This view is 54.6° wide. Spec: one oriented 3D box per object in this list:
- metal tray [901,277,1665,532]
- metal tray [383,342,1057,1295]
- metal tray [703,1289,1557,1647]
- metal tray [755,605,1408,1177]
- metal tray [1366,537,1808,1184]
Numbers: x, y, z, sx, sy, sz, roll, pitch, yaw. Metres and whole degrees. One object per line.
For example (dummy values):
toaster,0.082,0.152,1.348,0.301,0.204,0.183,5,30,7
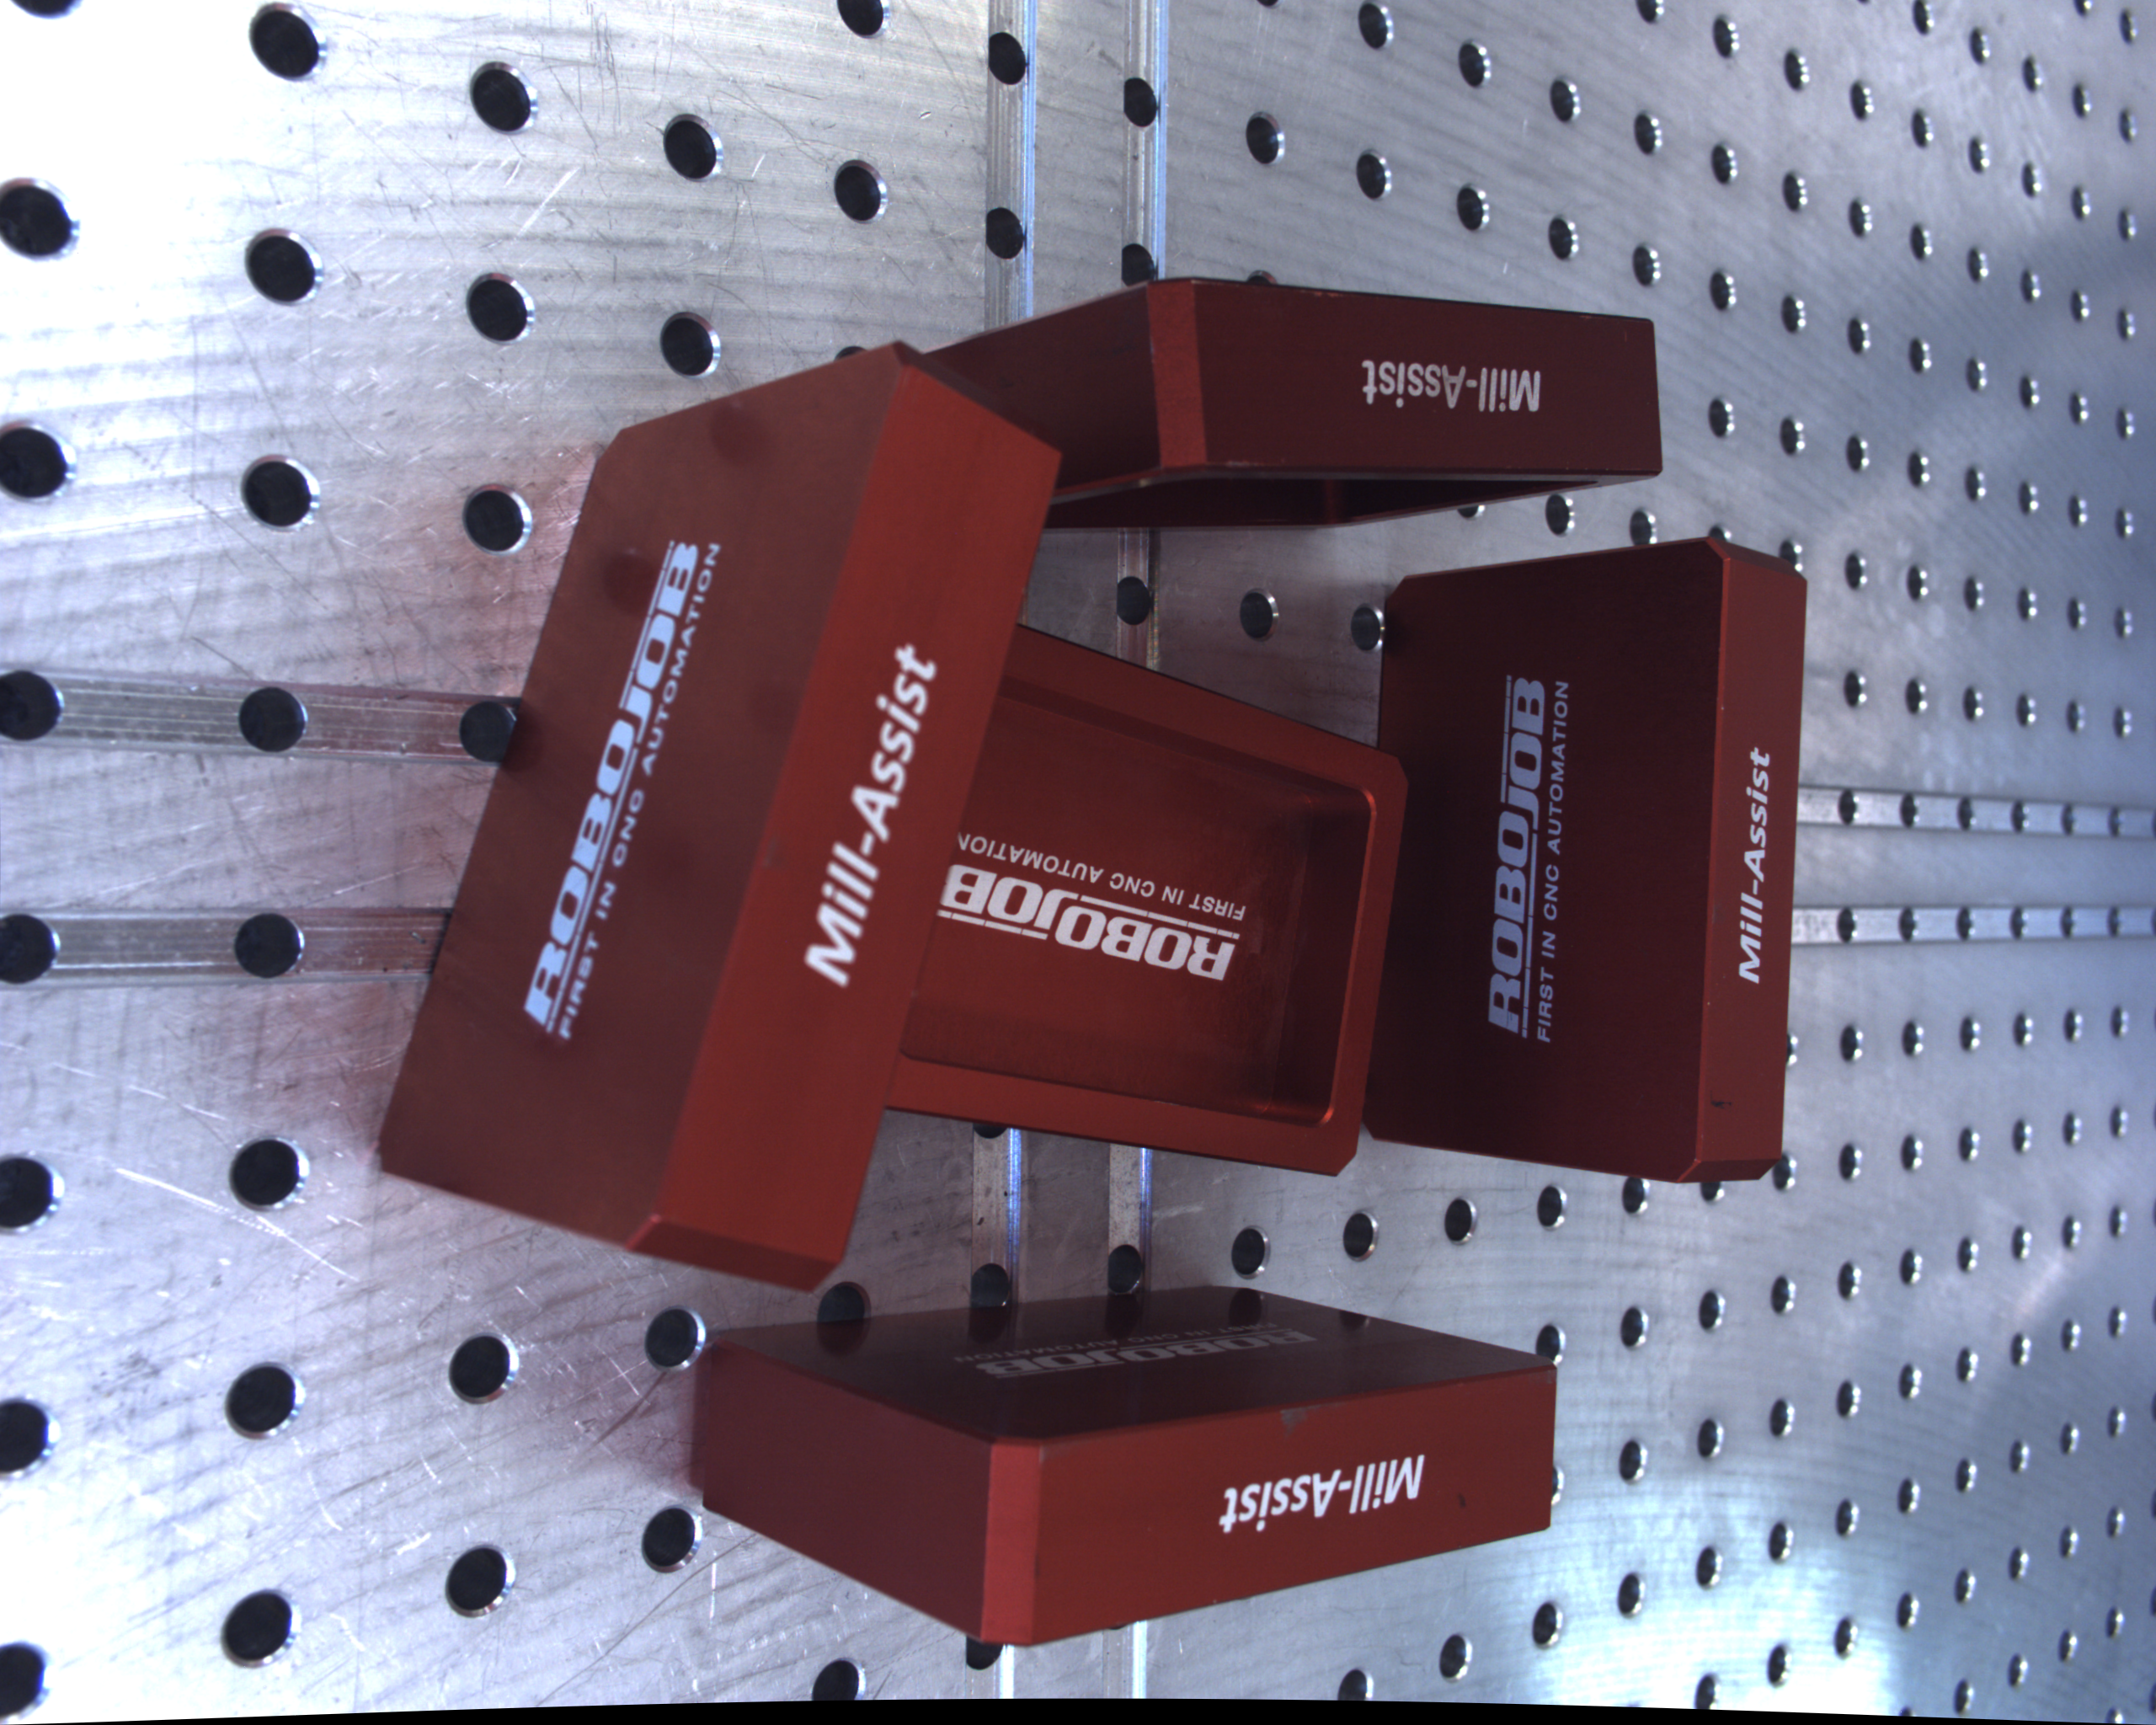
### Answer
metal tray,0.036,-0.083,0.395,0.131,0.090,0.030,-8,96,-39
metal tray,-0.057,-0.007,0.318,0.030,0.090,0.130,23,75,-37
metal tray,0.011,0.102,0.376,0.131,0.090,0.030,5,87,-39
metal tray,0.006,0.009,0.409,0.131,0.030,0.090,14,81,-39
metal tray,0.108,0.000,0.456,0.030,0.090,0.129,6,86,-40
